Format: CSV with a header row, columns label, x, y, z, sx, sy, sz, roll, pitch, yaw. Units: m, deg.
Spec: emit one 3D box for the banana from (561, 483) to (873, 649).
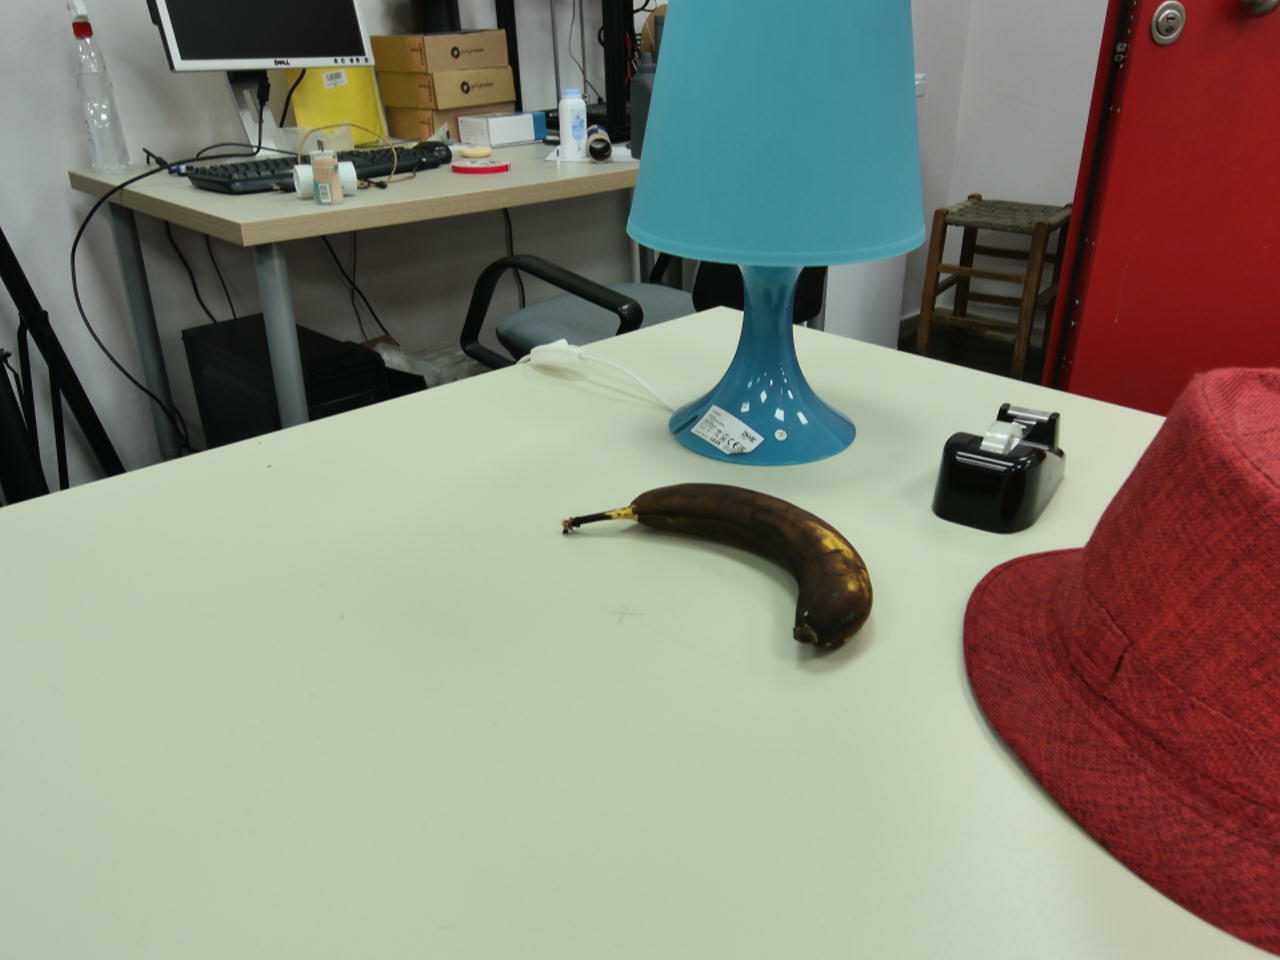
label,x,y,z,sx,sy,sz,roll,pitch,yaw
banana,0.052,0.032,0.532,0.091,0.034,0.188,-18,30,-36
